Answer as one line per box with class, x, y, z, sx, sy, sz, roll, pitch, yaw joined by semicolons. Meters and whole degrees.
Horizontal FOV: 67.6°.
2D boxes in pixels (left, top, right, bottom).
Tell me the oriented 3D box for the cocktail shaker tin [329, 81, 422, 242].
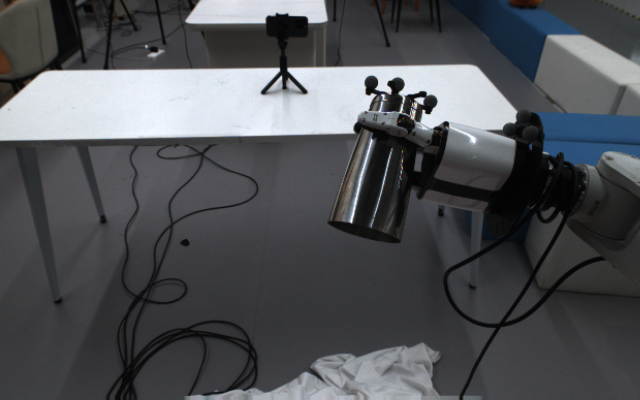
cocktail shaker tin;0.079;-0.044;0.601;0.093;0.093;0.170;13;79;15
